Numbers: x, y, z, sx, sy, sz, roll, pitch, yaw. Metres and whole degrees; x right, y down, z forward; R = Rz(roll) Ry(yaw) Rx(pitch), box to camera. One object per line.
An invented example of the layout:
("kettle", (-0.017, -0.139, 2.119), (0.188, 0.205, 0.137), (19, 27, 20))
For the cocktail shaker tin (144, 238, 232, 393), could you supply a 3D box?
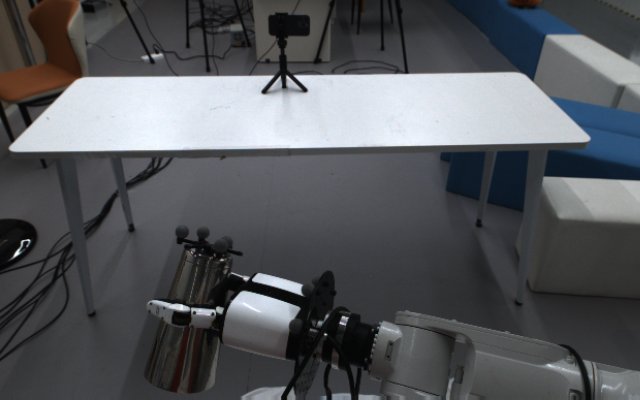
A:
("cocktail shaker tin", (-0.165, 0.152, 0.638), (0.093, 0.170, 0.093), (13, 2, 0))
